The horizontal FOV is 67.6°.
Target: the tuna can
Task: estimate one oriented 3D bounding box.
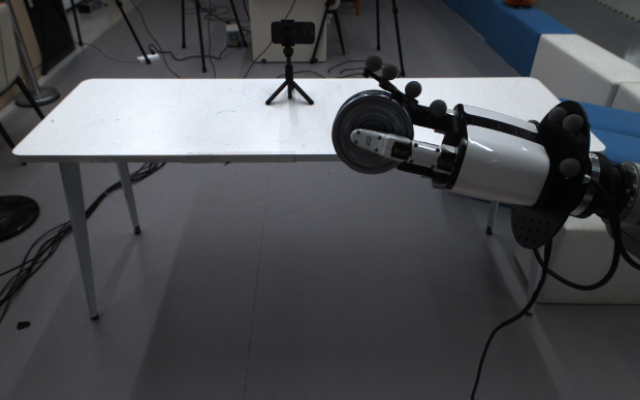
[{"bbox_3d":[0.060,-0.066,0.509,0.085,0.085,0.034,6,19,6],"label":"tuna can"}]
